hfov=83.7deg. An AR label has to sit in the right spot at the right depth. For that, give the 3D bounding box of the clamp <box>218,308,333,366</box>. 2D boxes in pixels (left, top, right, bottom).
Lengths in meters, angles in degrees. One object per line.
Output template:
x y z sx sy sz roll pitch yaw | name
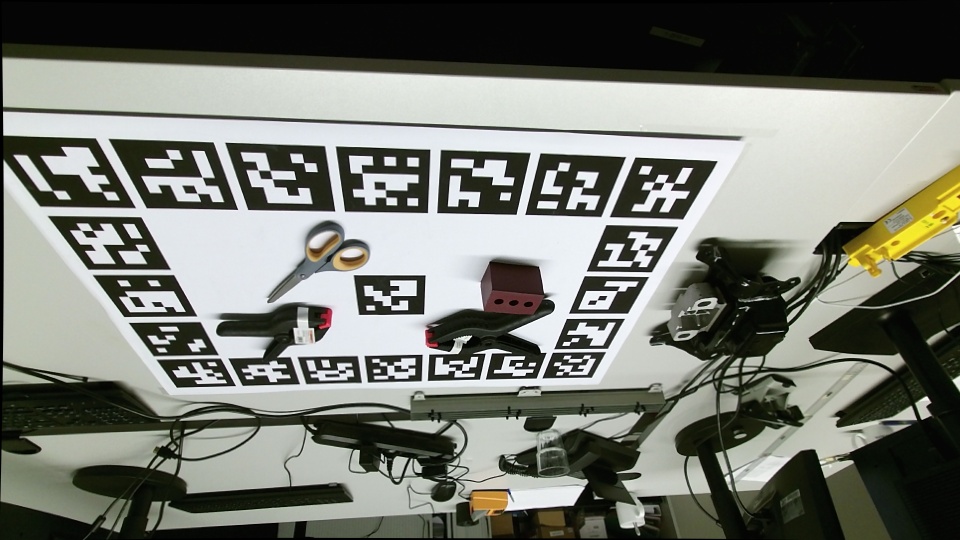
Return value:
-0.303 0.100 0.835 0.165 0.036 0.122 -19 131 13 | clamp

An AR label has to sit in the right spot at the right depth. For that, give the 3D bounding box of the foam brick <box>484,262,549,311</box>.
0.053 0.024 0.780 0.078 0.051 0.053 2 138 -17 | foam brick

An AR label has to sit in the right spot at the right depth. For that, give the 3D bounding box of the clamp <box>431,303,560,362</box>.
0.021 0.110 0.883 0.203 0.036 0.165 -2 142 -4 | clamp

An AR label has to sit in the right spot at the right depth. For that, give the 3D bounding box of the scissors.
-0.225 0.003 0.736 0.203 0.016 0.088 -34 125 31 | scissors
